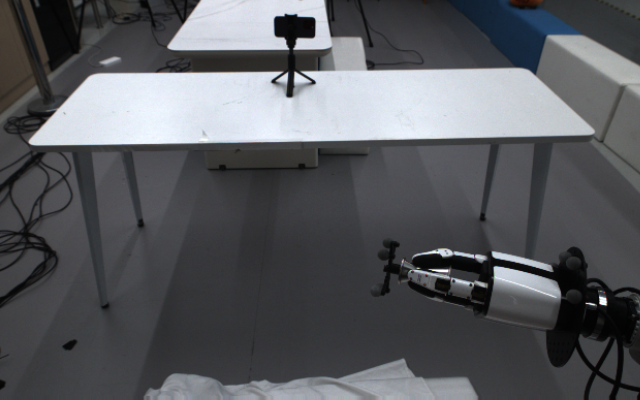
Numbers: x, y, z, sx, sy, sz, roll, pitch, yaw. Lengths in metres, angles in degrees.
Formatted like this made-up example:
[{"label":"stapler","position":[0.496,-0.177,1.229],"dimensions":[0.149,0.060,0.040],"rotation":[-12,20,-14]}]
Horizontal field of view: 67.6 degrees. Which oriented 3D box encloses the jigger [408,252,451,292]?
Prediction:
[{"label":"jigger","position":[0.155,0.104,0.688],"dimensions":[0.071,0.043,0.043],"rotation":[10,35,16]}]
